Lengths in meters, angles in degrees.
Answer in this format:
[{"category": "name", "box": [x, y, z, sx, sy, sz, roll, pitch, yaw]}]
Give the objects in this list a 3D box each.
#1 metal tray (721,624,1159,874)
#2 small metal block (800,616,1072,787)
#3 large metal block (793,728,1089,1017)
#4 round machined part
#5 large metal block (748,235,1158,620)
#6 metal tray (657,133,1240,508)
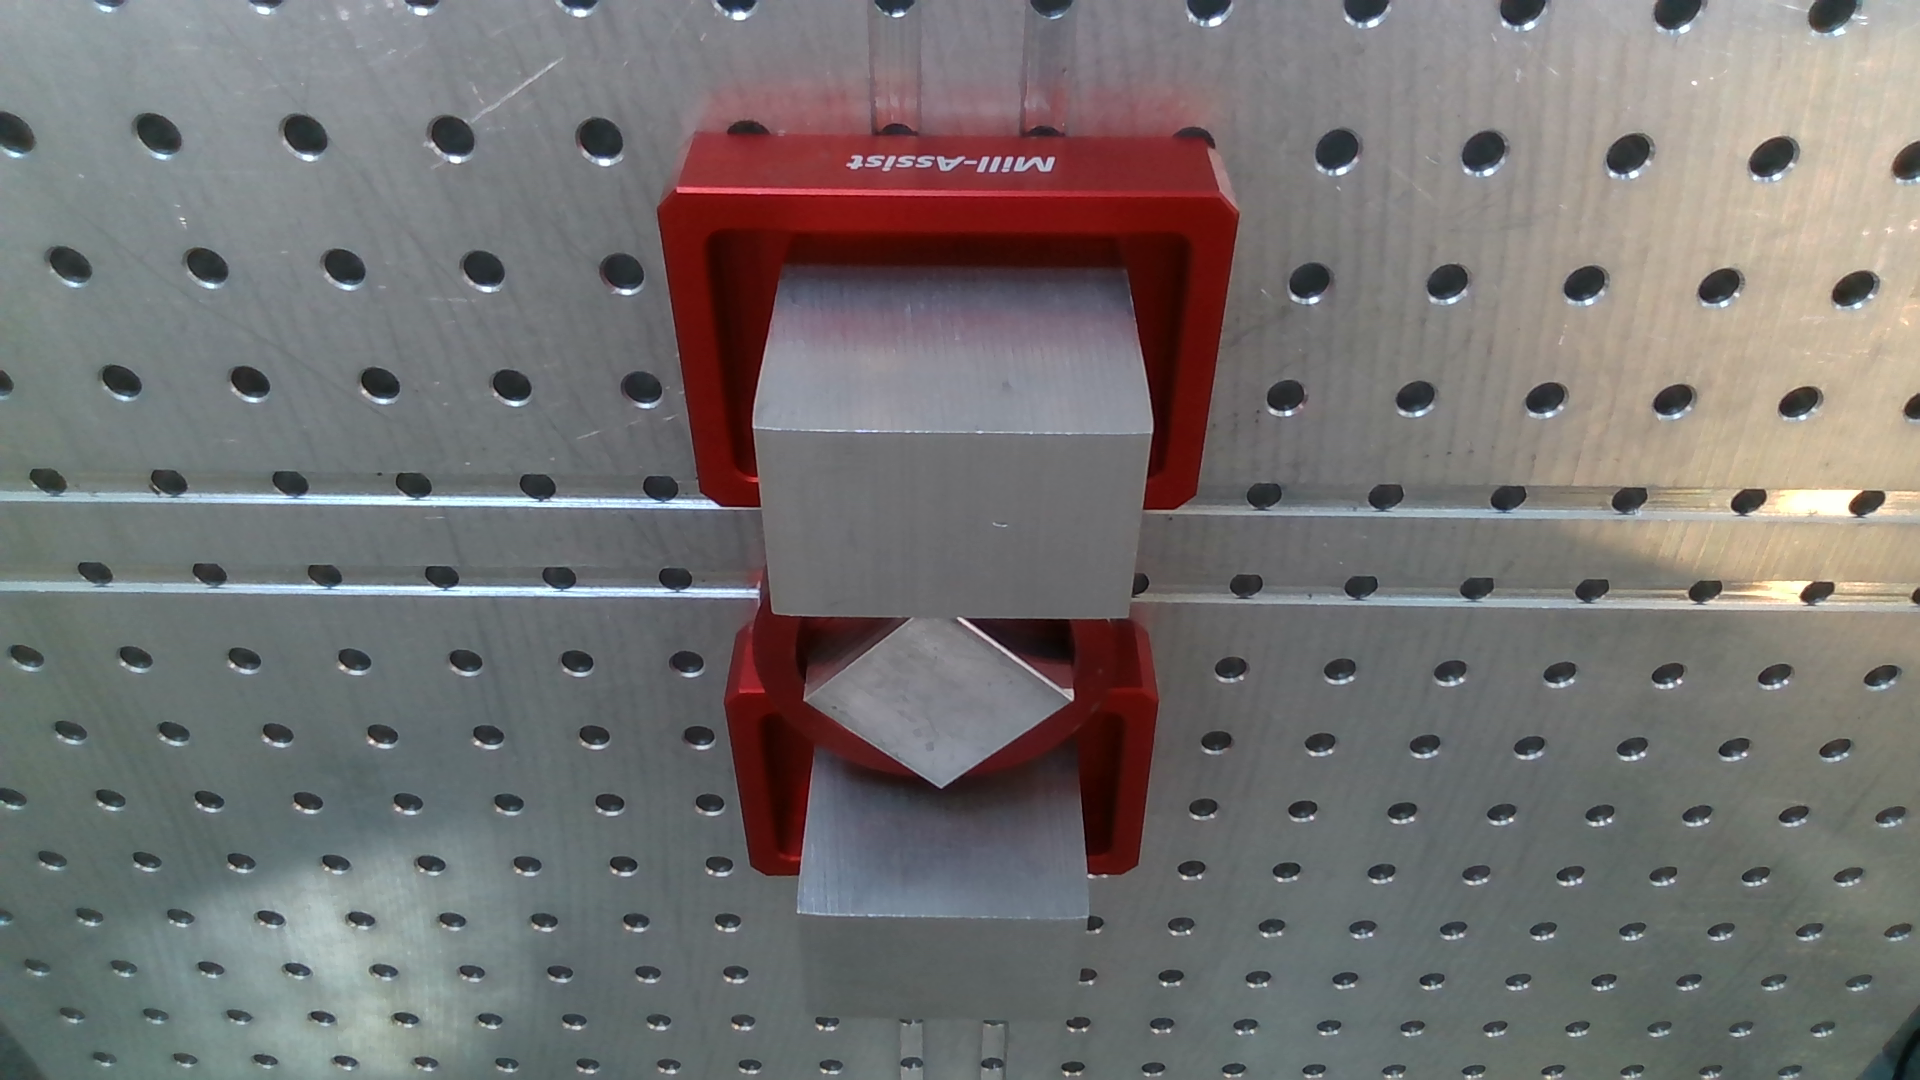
[{"category": "metal tray", "box": [-0.006, 0.069, 0.446, 0.130, 0.030, 0.090, 0, 130, 0]}, {"category": "small metal block", "box": [-0.006, 0.033, 0.367, 0.050, 0.025, 0.050, 37, 121, -27]}, {"category": "large metal block", "box": [-0.006, 0.095, 0.419, 0.080, 0.080, 0.050, 1, 130, -1]}, {"category": "round machined part", "box": [-0.007, 0.018, 0.384, 0.098, 0.042, 0.098, 0, 130, 0]}, {"category": "large metal block", "box": [-0.002, -0.028, 0.316, 0.080, 0.080, 0.050, 1, 130, 0]}, {"category": "metal tray", "box": [-0.003, -0.052, 0.343, 0.130, 0.030, 0.090, 0, 130, -1]}]
